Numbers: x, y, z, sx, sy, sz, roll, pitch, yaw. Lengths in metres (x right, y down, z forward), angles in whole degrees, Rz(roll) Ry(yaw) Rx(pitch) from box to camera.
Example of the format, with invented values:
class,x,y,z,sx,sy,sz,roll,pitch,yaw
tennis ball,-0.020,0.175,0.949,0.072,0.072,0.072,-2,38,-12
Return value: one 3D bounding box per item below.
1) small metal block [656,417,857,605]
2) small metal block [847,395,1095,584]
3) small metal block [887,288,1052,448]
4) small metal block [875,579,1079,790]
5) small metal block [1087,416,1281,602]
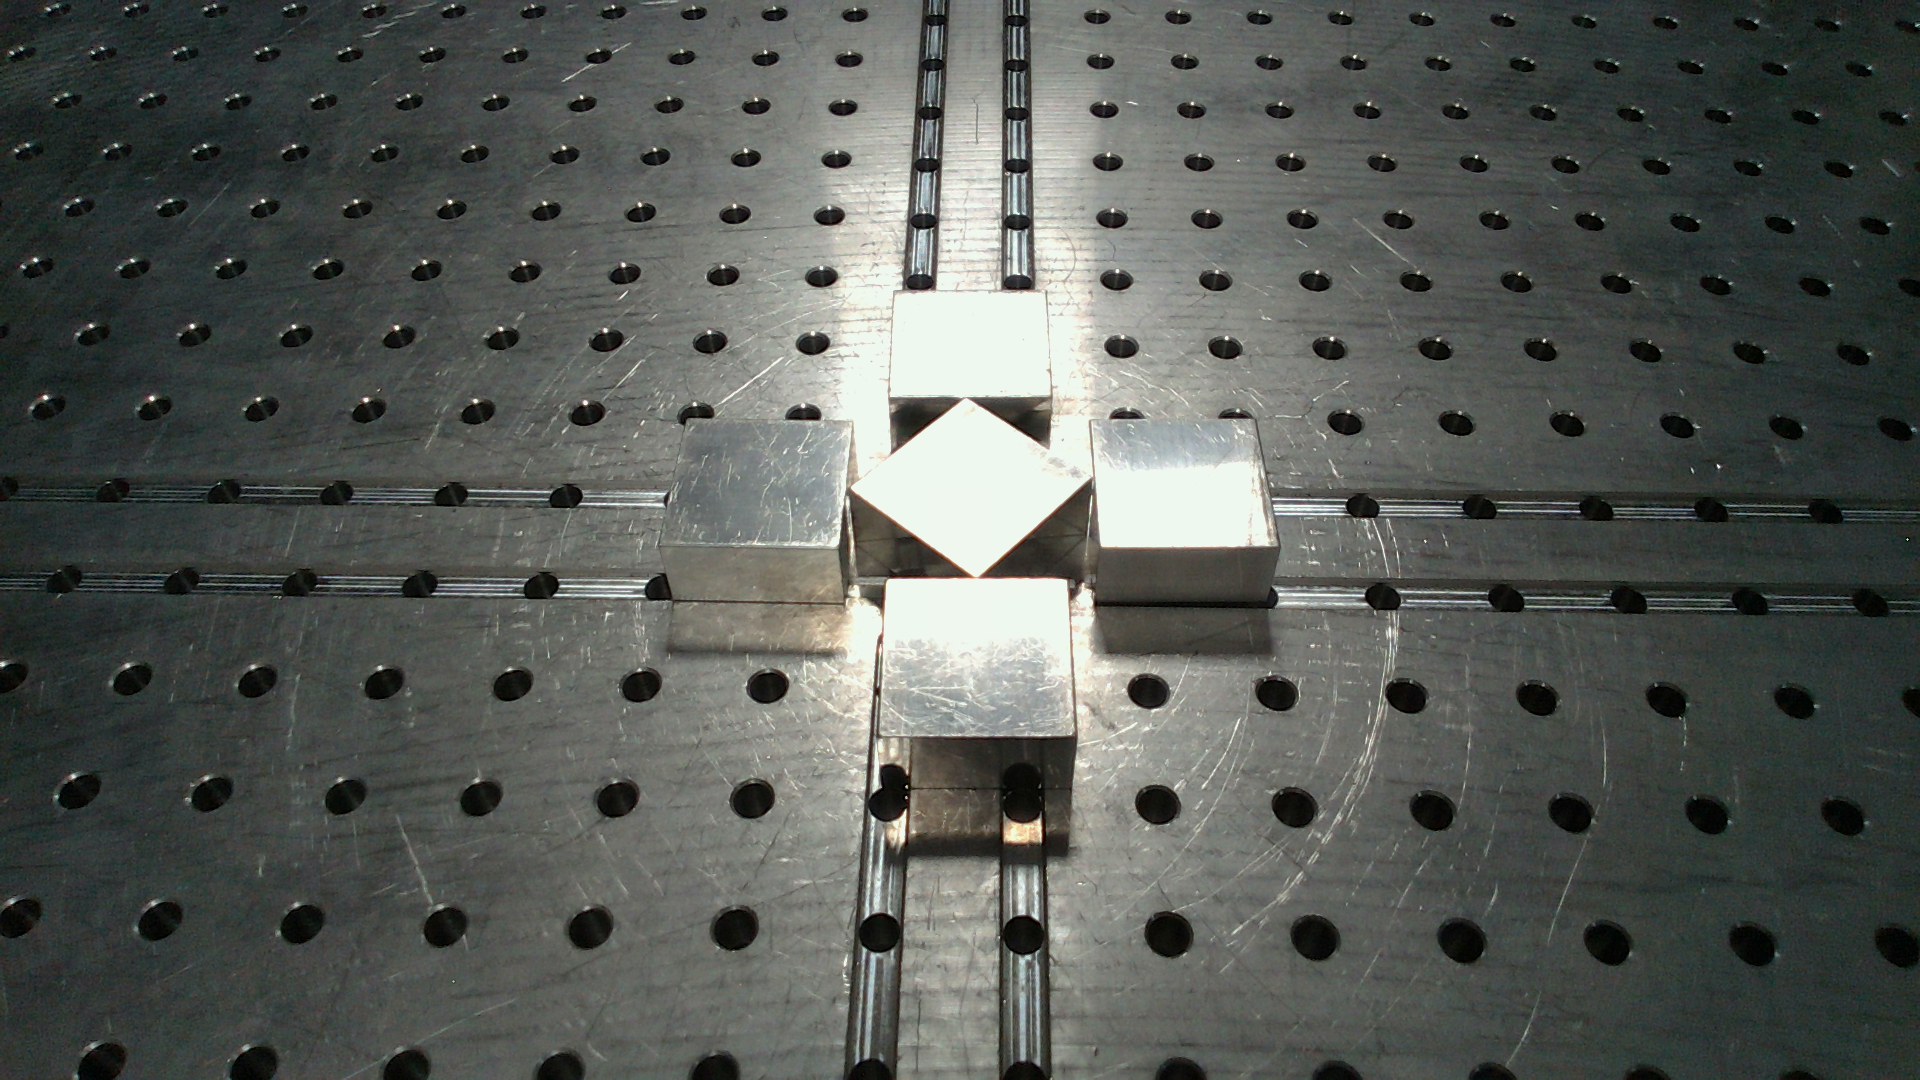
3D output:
class,x,y,z,sx,sy,sz,roll,pitch,yaw
small metal block,-0.058,-0.009,0.402,0.050,0.025,0.050,1,50,1
small metal block,0.003,-0.009,0.402,0.050,0.025,0.050,35,58,26
small metal block,0.003,-0.054,0.441,0.050,0.025,0.050,0,50,0
small metal block,0.005,0.038,0.363,0.050,0.025,0.050,0,50,0
small metal block,0.063,-0.009,0.403,0.050,0.025,0.050,0,50,0
